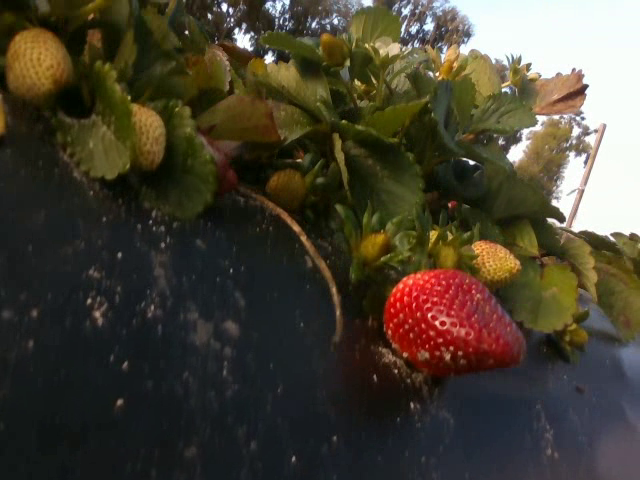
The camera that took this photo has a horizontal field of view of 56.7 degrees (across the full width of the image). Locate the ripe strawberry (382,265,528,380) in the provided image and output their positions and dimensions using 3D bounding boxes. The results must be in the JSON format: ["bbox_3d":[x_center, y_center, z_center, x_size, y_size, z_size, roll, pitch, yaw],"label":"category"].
[{"bbox_3d":[0.061,0.036,0.251,0.052,0.045,0.067,21,5,-30],"label":"ripe strawberry"}]
